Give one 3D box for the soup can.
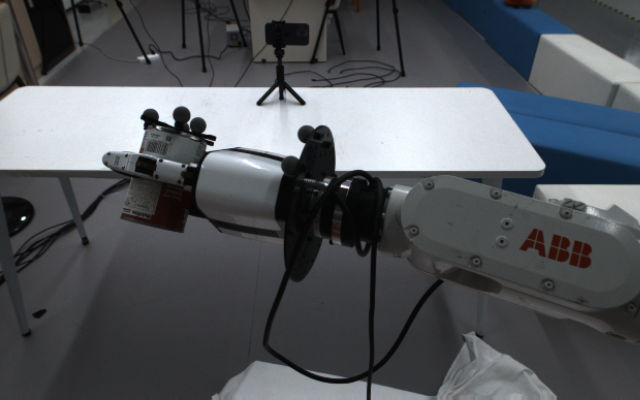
[{"bbox_3d":[-0.166,-0.020,0.522,0.067,0.101,0.067,13,-6,1],"label":"soup can"}]
